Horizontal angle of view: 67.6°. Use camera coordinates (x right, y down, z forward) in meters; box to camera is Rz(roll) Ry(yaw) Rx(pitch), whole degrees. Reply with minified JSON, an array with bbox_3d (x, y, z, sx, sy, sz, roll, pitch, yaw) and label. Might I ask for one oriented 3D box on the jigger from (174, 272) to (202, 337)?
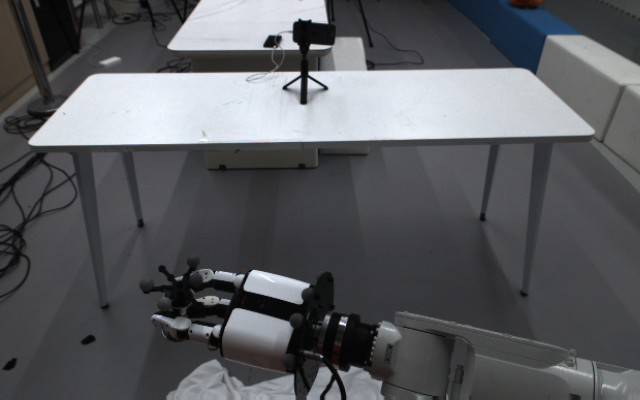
[{"bbox_3d":[-0.189,0.152,0.652,0.043,0.071,0.043,9,36,-7],"label":"jigger"}]
